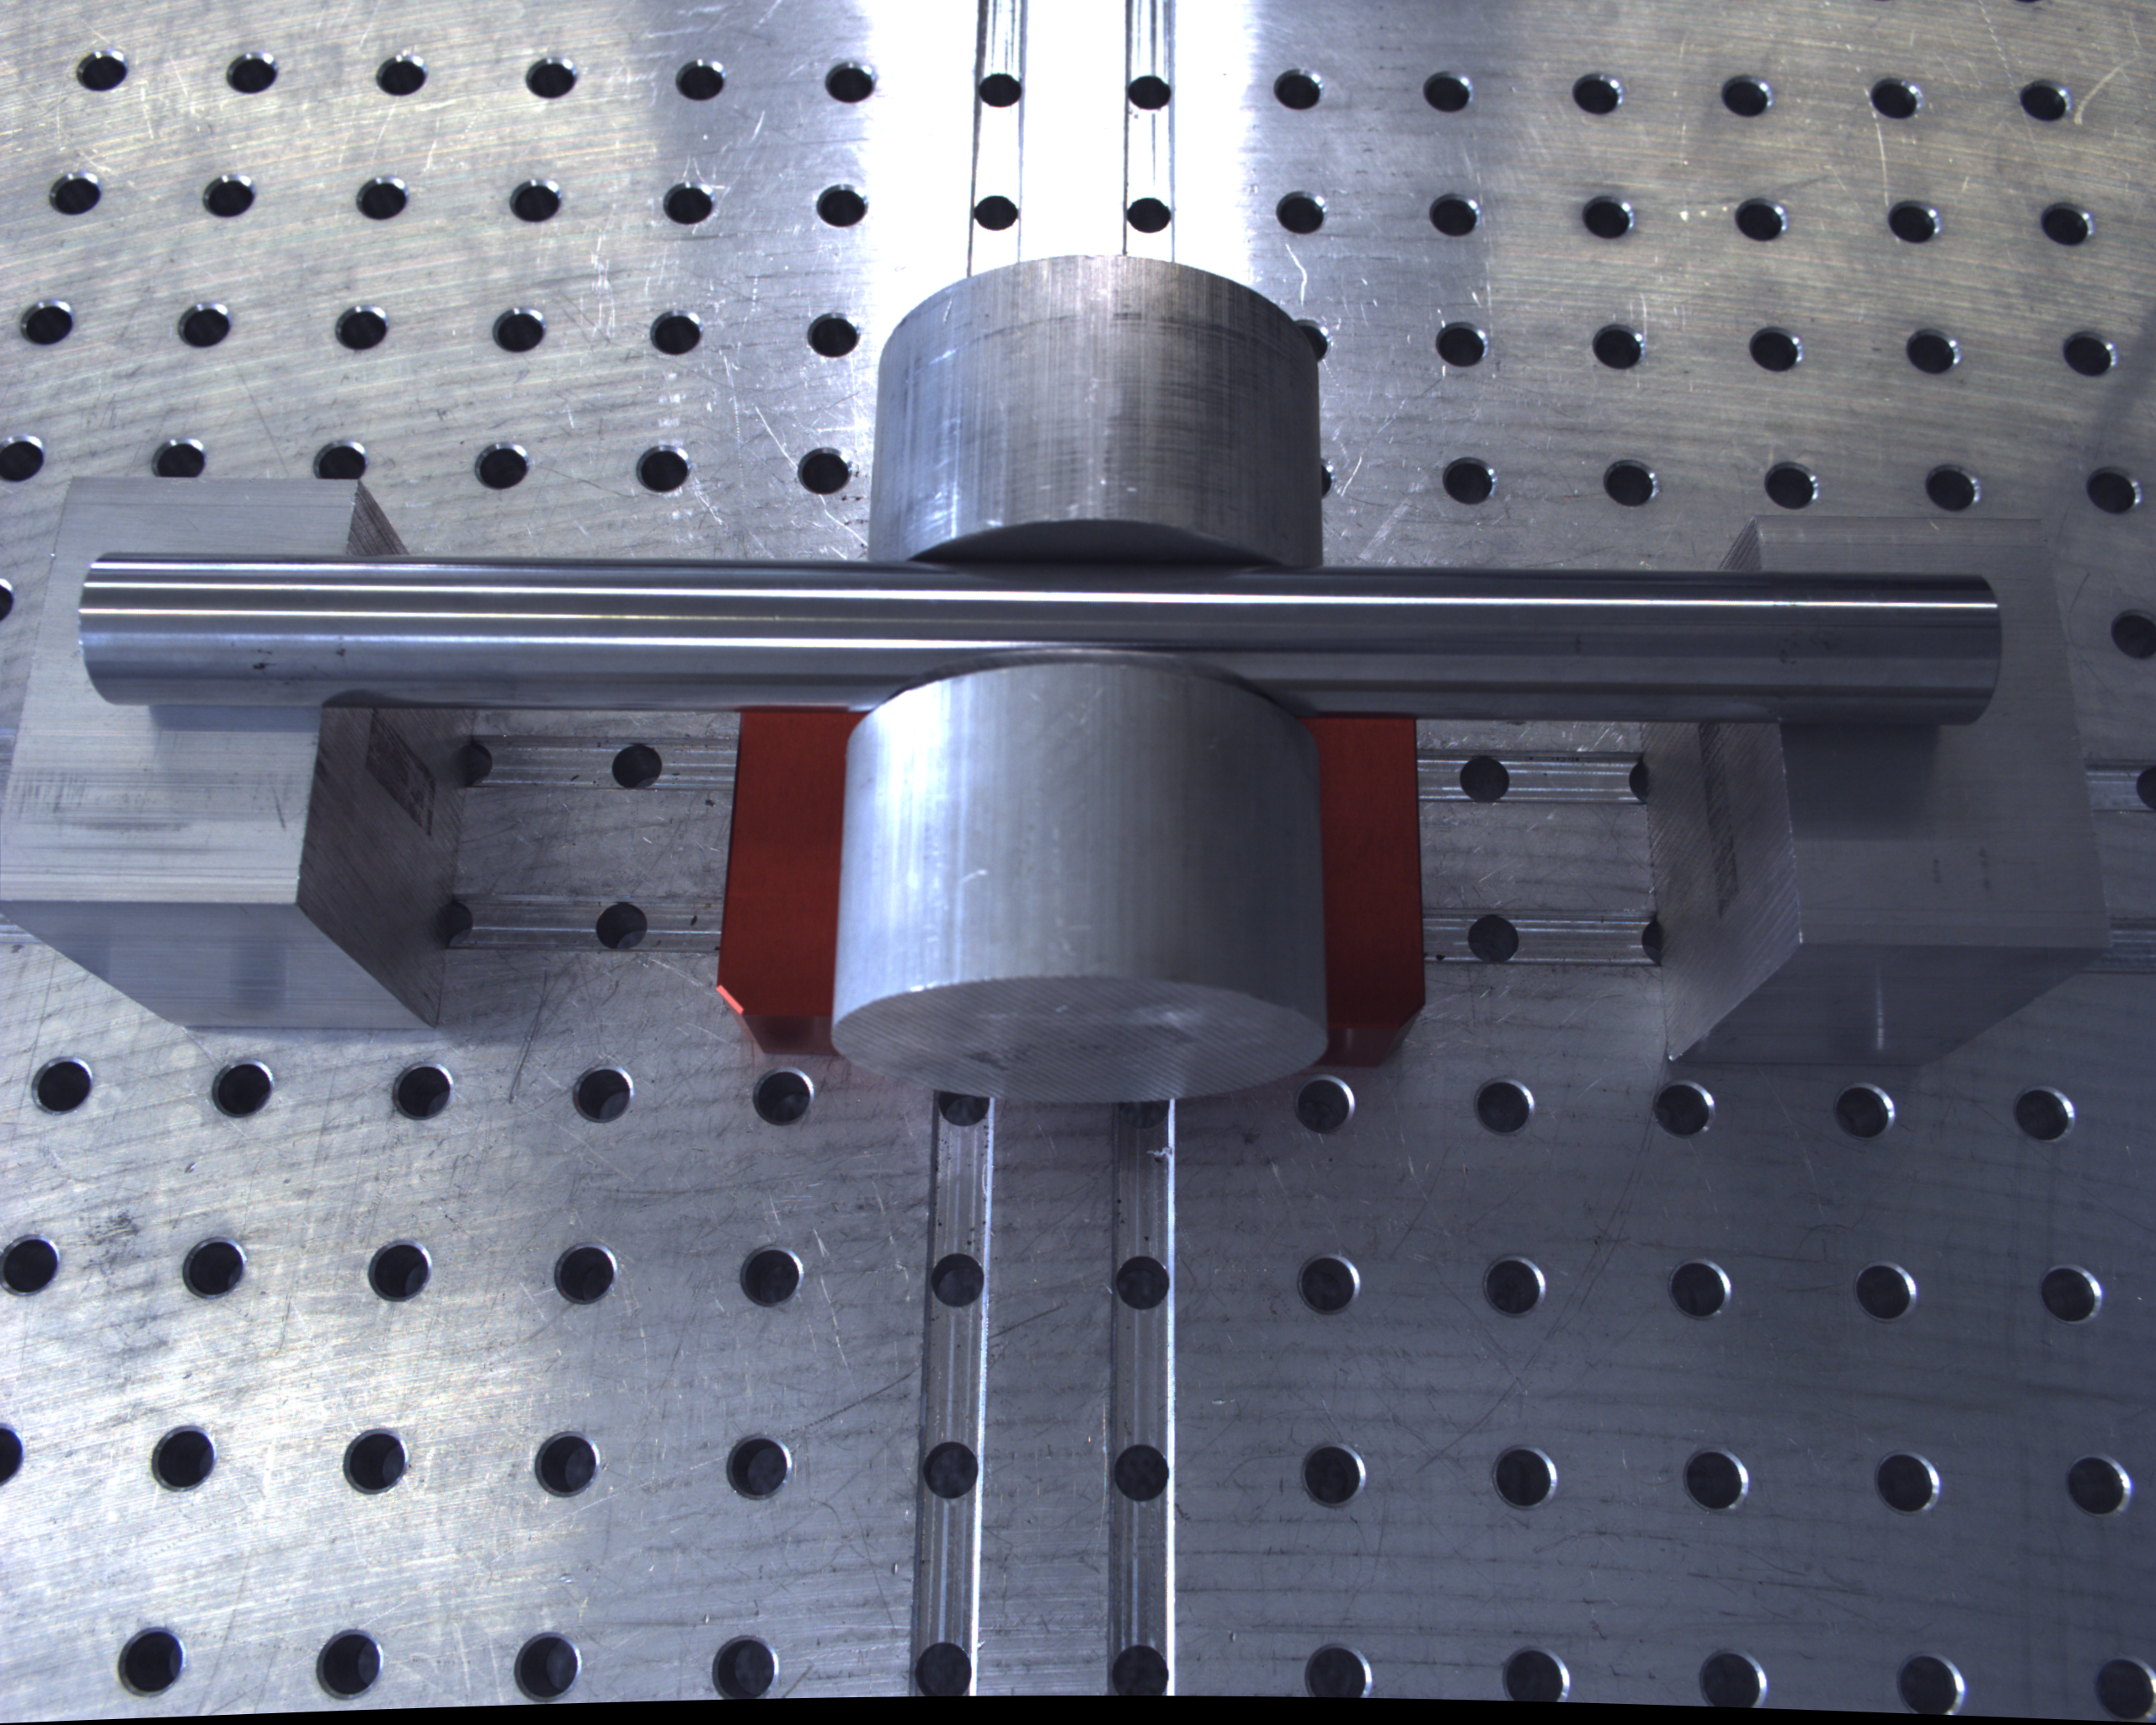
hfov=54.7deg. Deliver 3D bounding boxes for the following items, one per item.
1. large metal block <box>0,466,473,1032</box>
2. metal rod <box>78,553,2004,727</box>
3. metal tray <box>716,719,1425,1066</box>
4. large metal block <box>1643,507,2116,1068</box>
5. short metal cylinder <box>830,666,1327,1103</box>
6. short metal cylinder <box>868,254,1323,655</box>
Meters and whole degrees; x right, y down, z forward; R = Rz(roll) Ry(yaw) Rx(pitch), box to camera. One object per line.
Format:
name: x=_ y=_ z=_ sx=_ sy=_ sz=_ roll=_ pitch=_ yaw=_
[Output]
large metal block: x=-0.151 y=-0.018 z=0.387 sx=0.050 sy=0.080 sz=0.080 roll=1 pitch=70 yaw=0
metal rod: x=-0.006 y=-0.036 z=0.339 sx=0.302 sy=0.025 sz=0.025 roll=1 pitch=70 yaw=0
metal tray: x=0.000 y=-0.008 z=0.412 sx=0.131 sy=0.030 sz=0.090 roll=1 pitch=70 yaw=0
large metal block: x=0.142 y=-0.011 z=0.386 sx=0.050 sy=0.080 sz=0.080 roll=1 pitch=70 yaw=0
short metal cylinder: x=0.001 y=0.007 z=0.348 sx=0.080 sy=0.080 sz=0.050 roll=1 pitch=70 yaw=0
short metal cylinder: x=0.003 y=-0.064 z=0.374 sx=0.080 sy=0.080 sz=0.050 roll=1 pitch=70 yaw=0
